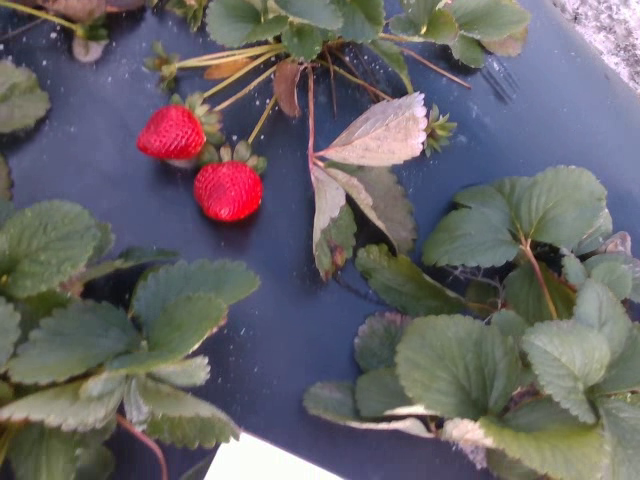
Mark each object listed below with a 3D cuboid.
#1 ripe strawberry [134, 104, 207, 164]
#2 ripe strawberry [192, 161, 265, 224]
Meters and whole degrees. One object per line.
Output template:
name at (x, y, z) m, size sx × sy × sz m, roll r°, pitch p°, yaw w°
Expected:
ripe strawberry at (-0.112, -0.077, 0.463) m, size 0.048 × 0.041 × 0.055 m, roll 37°, pitch 50°, yaw 10°
ripe strawberry at (-0.068, -0.036, 0.444) m, size 0.057 × 0.051 × 0.064 m, roll 5°, pitch 38°, yaw -3°
